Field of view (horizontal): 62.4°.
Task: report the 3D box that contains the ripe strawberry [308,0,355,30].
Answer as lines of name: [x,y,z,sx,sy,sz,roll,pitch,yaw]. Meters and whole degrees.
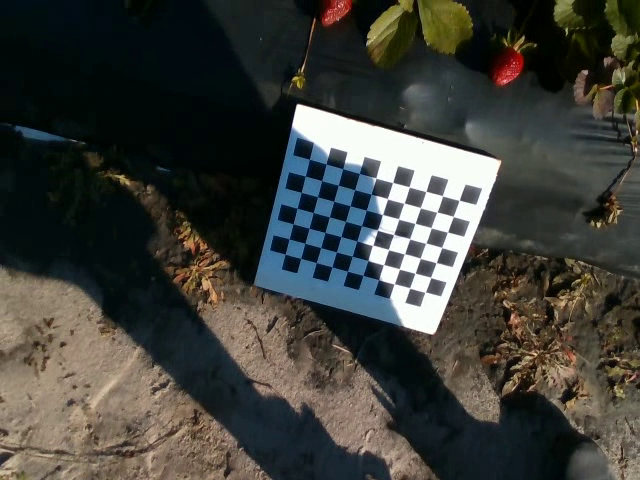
ripe strawberry: [0.011,-0.258,0.605,0.041,0.053,0.043,25,-26,-7]

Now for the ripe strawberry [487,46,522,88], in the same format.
ripe strawberry: [0.205,-0.189,0.601,0.050,0.043,0.043,-50,16,-32]
